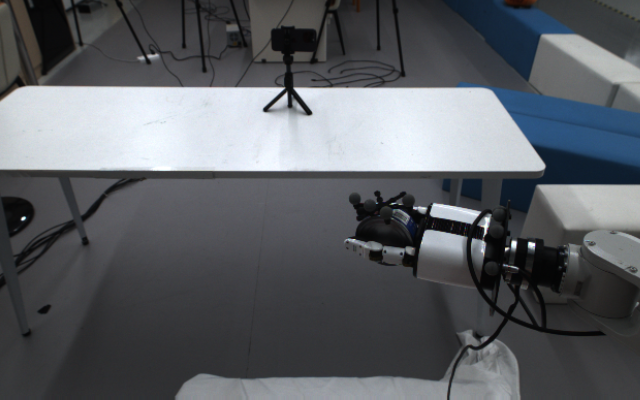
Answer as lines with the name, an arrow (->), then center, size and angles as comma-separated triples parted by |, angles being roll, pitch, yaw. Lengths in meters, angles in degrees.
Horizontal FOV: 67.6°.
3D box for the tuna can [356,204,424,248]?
tuna can -> 0.098, 0.049, 0.696 | 0.085, 0.085, 0.034 | 17, 37, 20
